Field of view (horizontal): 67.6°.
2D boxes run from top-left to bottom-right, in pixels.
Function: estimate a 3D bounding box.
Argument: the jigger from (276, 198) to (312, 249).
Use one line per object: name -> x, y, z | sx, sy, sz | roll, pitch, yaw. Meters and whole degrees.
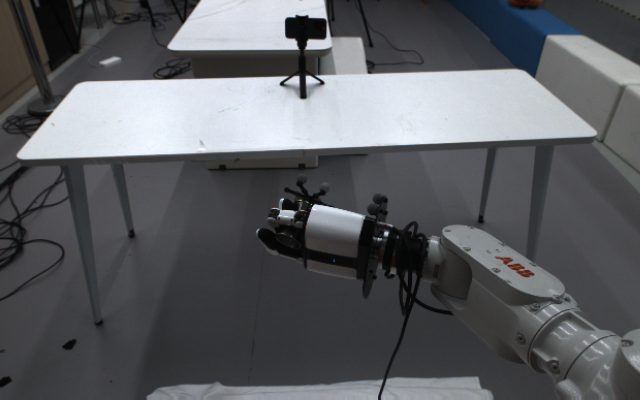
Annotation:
jigger -> -0.036, 0.035, 0.769 | 0.043, 0.043, 0.071 | 15, 58, 18
